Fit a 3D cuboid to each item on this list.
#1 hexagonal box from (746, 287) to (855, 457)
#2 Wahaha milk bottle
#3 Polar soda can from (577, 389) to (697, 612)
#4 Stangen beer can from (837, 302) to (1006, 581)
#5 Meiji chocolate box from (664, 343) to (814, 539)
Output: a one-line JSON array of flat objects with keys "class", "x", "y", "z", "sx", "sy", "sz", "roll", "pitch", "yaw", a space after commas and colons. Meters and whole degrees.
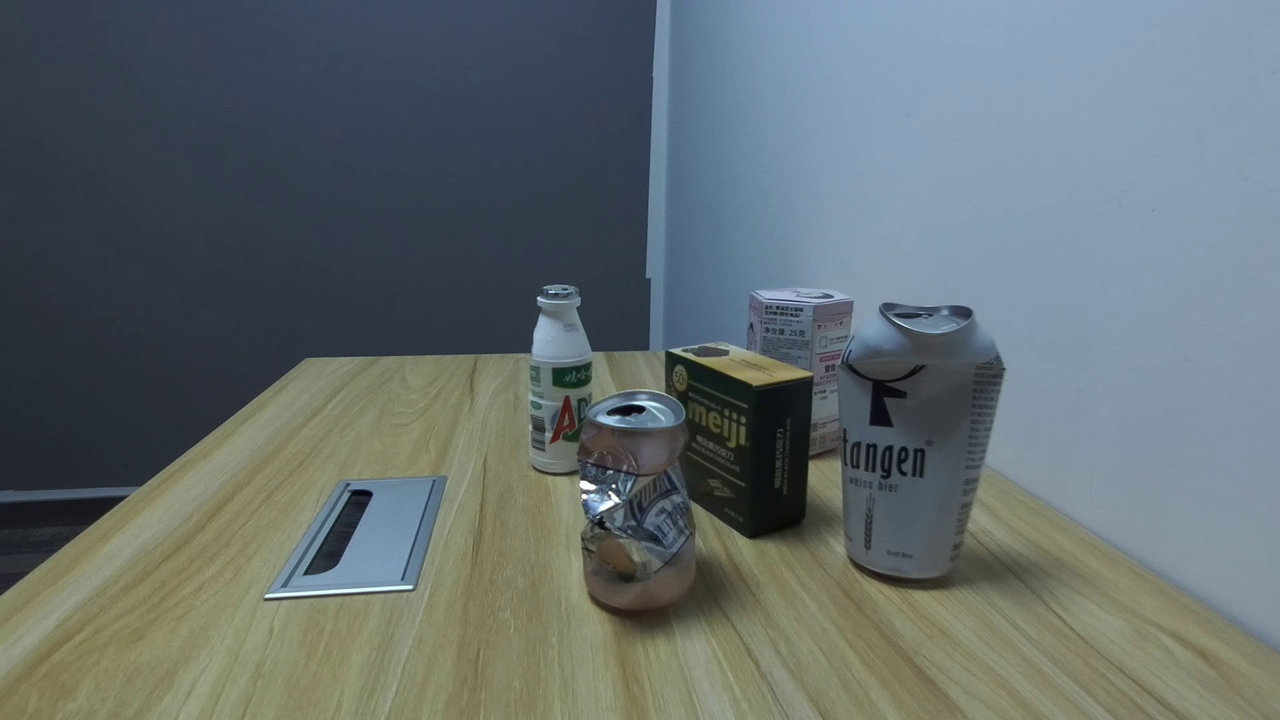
[{"class": "hexagonal box", "x": 0.134, "y": 0.007, "z": 0.622, "sx": 0.091, "sy": 0.136, "sz": 0.083, "roll": -10, "pitch": 20, "yaw": -35}, {"class": "Wahaha milk bottle", "x": -0.065, "y": 0.021, "z": 0.565, "sx": 0.053, "sy": 0.136, "sz": 0.053, "roll": 1, "pitch": 12, "yaw": 0}, {"class": "Polar soda can", "x": -0.001, "y": 0.080, "z": 0.396, "sx": 0.070, "sy": 0.114, "sz": 0.074, "roll": -10, "pitch": 14, "yaw": -14}, {"class": "Stangen beer can", "x": 0.161, "y": 0.049, "z": 0.421, "sx": 0.077, "sy": 0.162, "sz": 0.065, "roll": -7, "pitch": 17, "yaw": -25}, {"class": "Meiji chocolate box", "x": 0.067, "y": 0.052, "z": 0.508, "sx": 0.056, "sy": 0.109, "sz": 0.109, "roll": -9, "pitch": 18, "yaw": -30}]
